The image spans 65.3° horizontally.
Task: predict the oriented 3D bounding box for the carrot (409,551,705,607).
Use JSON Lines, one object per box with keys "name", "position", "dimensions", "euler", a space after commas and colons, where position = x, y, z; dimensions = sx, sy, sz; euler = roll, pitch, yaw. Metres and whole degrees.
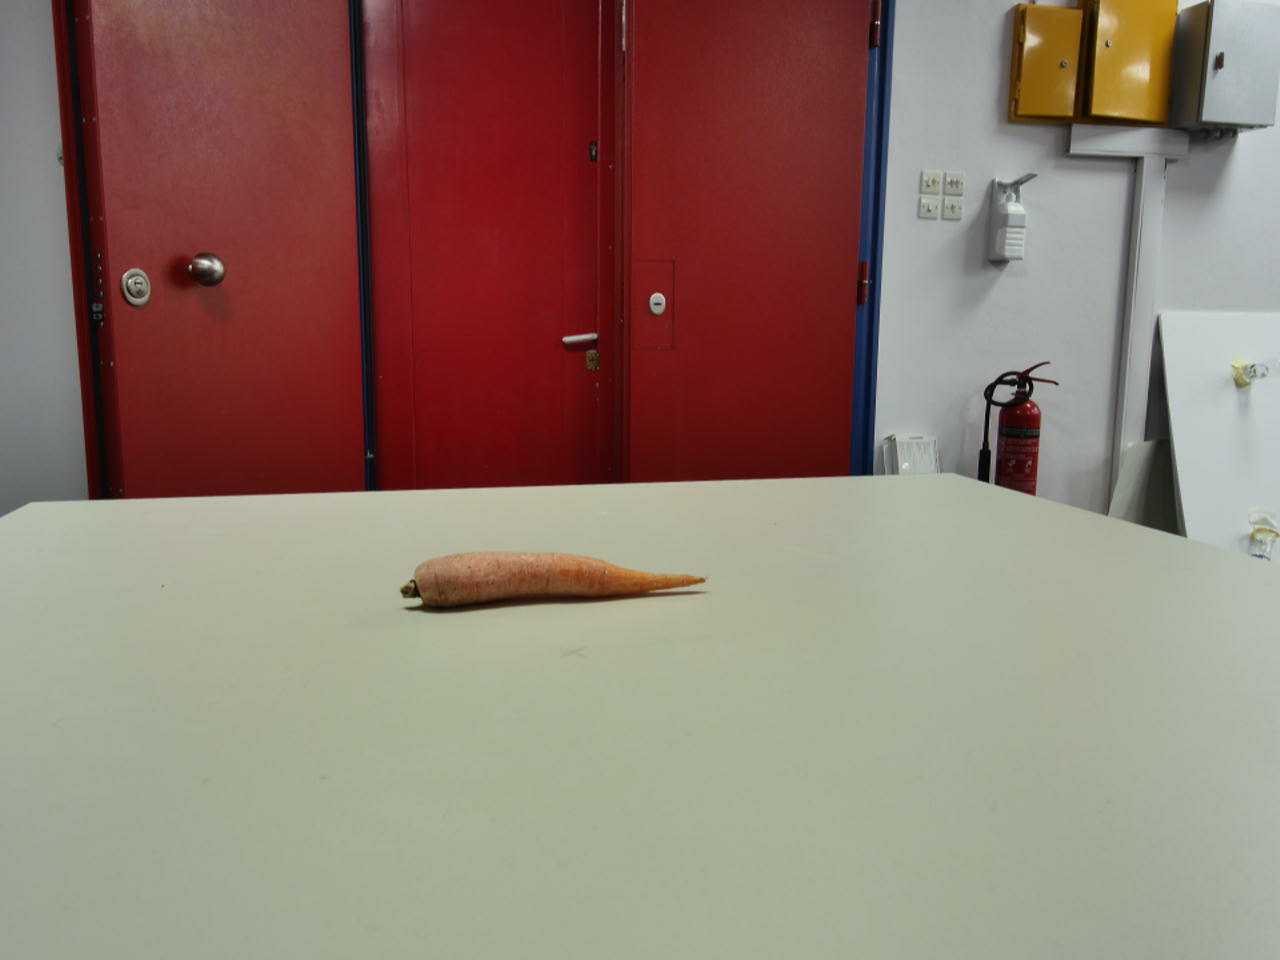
{"name": "carrot", "position": [-0.045, 0.052, 0.544], "dimensions": [0.163, 0.029, 0.031], "euler": [-2, 7, -13]}
